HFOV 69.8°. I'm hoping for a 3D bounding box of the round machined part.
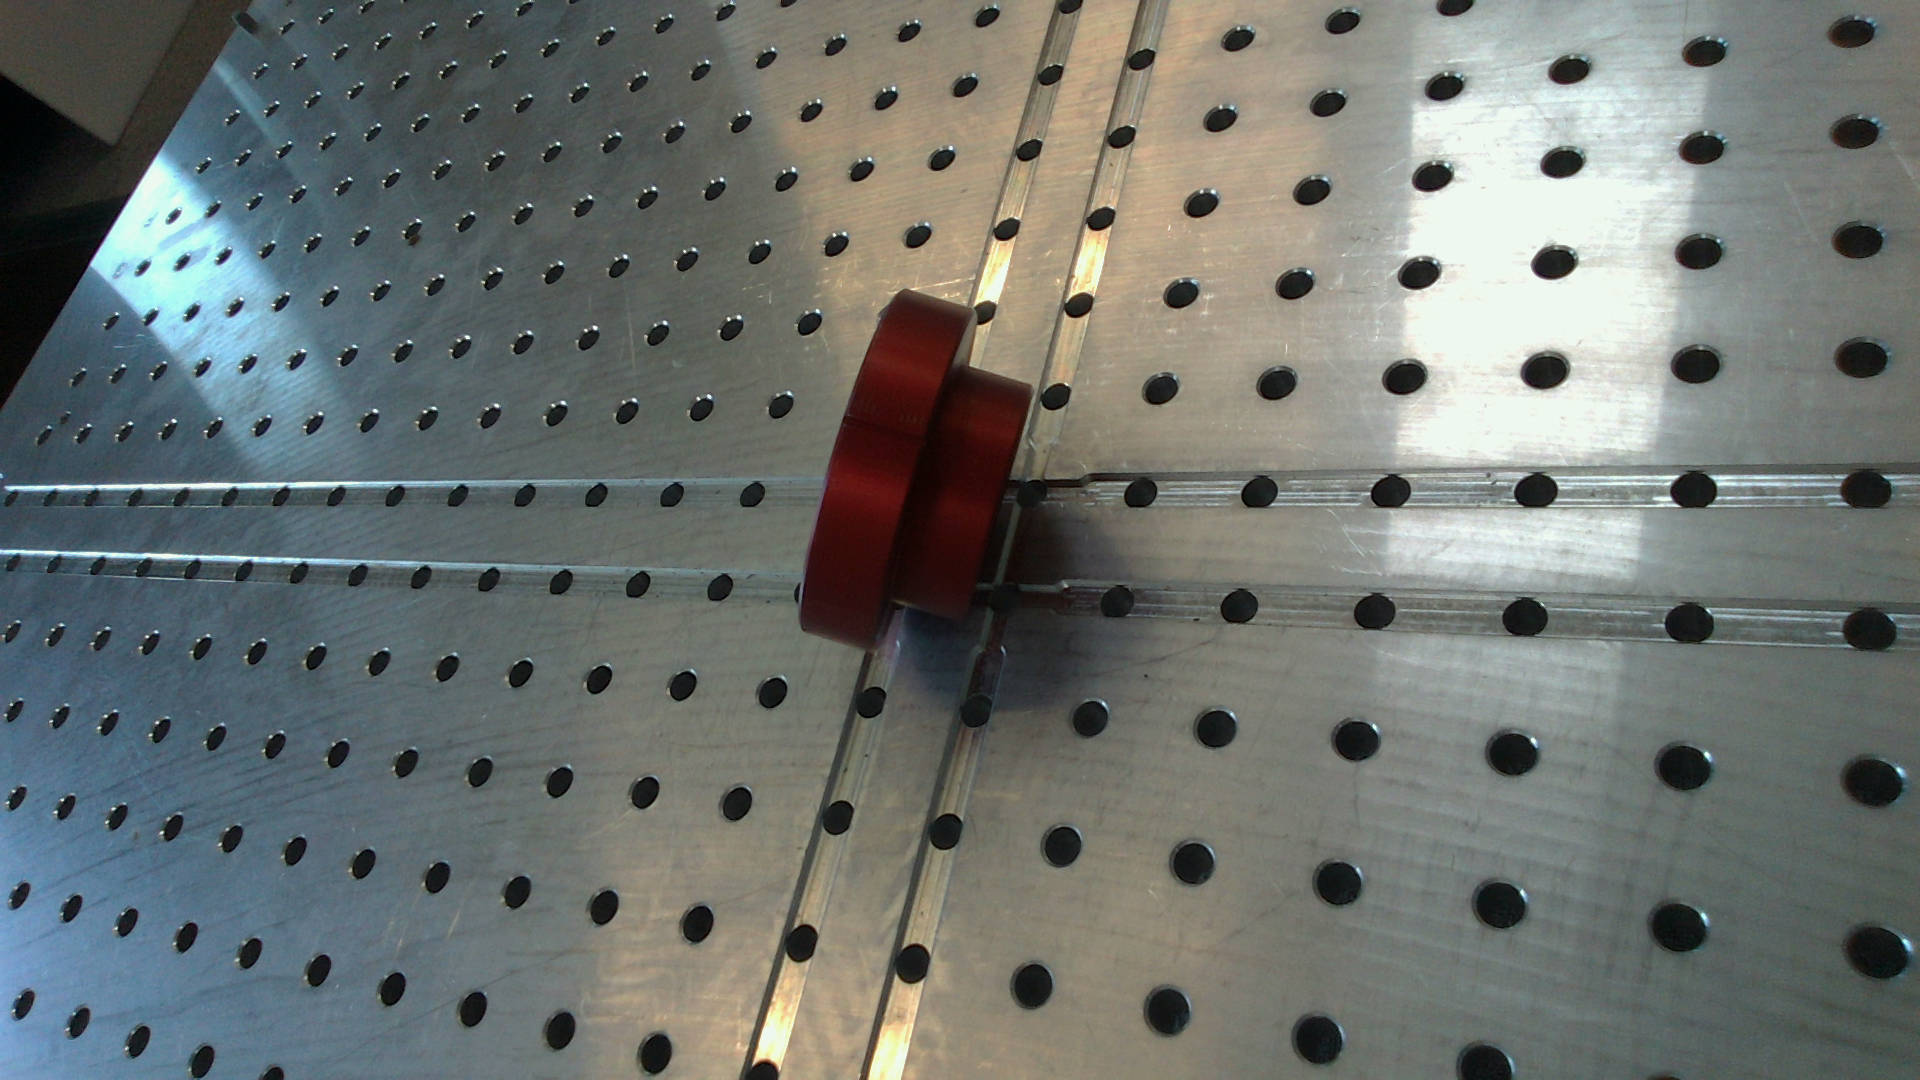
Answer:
[{"bbox_3d":[-0.009,-0.016,0.377,0.042,0.098,0.098,17,67,2],"label":"round machined part"}]
